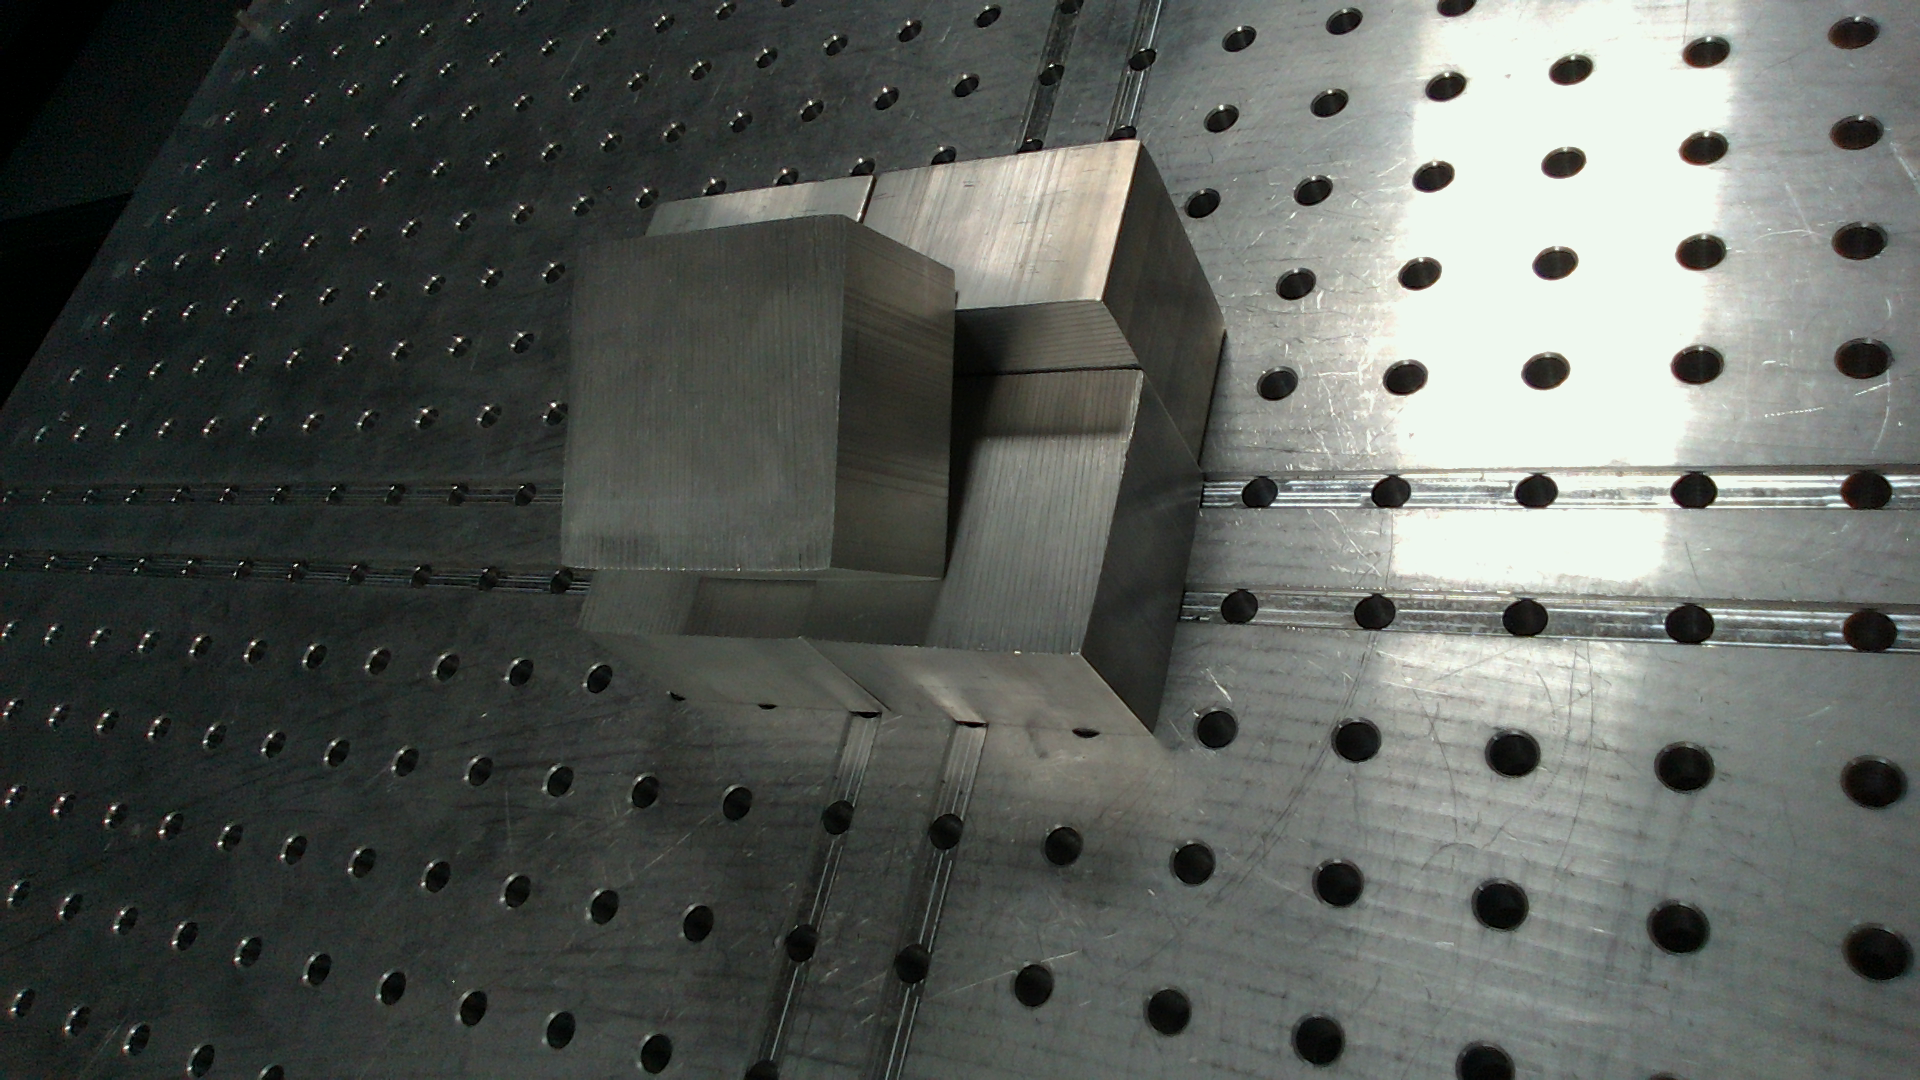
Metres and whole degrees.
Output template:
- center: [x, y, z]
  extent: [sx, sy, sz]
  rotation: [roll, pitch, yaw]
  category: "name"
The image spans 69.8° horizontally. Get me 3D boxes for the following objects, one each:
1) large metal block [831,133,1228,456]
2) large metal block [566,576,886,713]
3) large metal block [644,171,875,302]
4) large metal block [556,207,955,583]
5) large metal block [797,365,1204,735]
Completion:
- center: [0.022, -0.062, 0.386]
  extent: [0.080, 0.080, 0.050]
  rotation: [1, 62, 29]
  category: "large metal block"
- center: [-0.057, 0.002, 0.408]
  extent: [0.080, 0.050, 0.080]
  rotation: [1, 62, 29]
  category: "large metal block"
- center: [-0.048, -0.063, 0.425]
  extent: [0.080, 0.080, 0.050]
  rotation: [1, 62, 29]
  category: "large metal block"
- center: [-0.050, -0.031, 0.340]
  extent: [0.080, 0.050, 0.080]
  rotation: [0, 85, 28]
  category: "large metal block"
- center: [0.013, 0.003, 0.369]
  extent: [0.080, 0.050, 0.080]
  rotation: [1, 62, 29]
  category: "large metal block"
